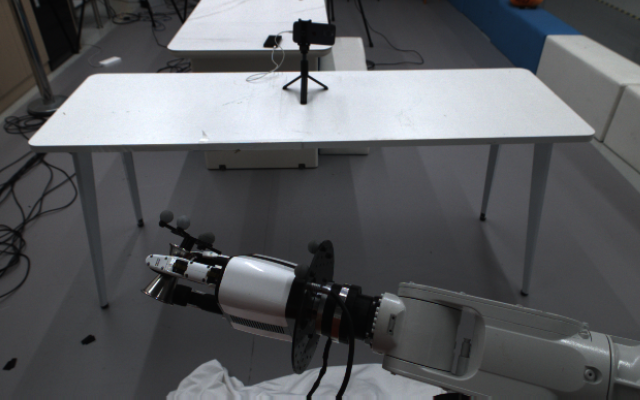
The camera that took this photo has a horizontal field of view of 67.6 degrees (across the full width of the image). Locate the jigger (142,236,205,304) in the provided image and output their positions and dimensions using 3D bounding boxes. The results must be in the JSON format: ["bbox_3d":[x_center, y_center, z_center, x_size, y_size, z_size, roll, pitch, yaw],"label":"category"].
[{"bbox_3d":[-0.190,0.092,0.611,0.043,0.043,0.071,20,74,24],"label":"jigger"}]
